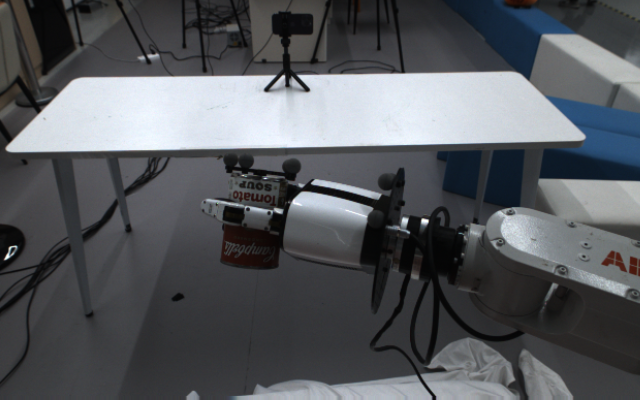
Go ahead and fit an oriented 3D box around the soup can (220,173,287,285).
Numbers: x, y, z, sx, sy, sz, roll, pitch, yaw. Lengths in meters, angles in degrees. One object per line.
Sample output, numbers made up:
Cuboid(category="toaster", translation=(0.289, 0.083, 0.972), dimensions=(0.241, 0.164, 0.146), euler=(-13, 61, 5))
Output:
Cuboid(category="soup can", translation=(-0.073, 0.024, 0.552), dimensions=(0.067, 0.101, 0.067), euler=(7, 3, 0))
